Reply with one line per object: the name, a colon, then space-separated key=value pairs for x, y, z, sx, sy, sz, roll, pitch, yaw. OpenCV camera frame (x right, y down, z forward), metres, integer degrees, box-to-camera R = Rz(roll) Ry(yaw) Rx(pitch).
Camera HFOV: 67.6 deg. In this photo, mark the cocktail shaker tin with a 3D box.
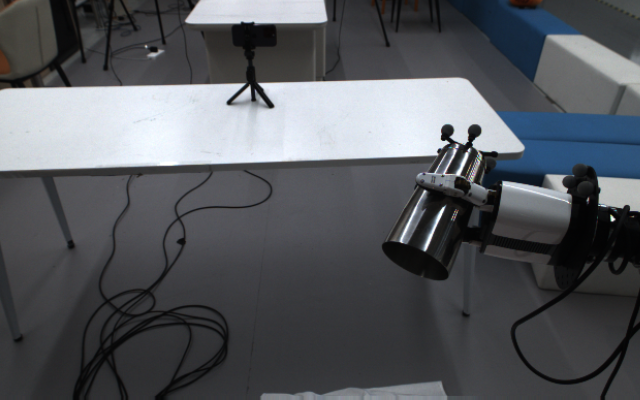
cocktail shaker tin: x=0.162 y=0.005 z=0.641 sx=0.093 sy=0.093 sz=0.170 roll=20 pitch=67 yaw=23
